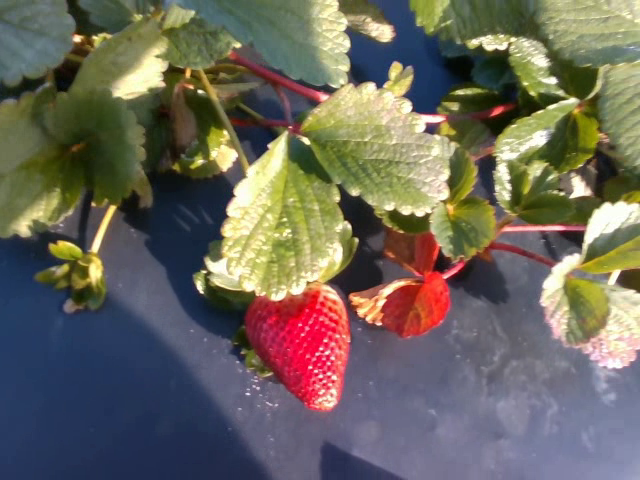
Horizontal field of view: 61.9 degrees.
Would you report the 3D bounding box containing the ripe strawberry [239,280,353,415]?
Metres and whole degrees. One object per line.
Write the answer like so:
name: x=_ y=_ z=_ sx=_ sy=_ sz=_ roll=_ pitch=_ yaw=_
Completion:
ripe strawberry: x=-0.006 y=0.039 z=0.192 sx=0.040 sy=0.056 sz=0.041 roll=-25 pitch=-39 yaw=8
